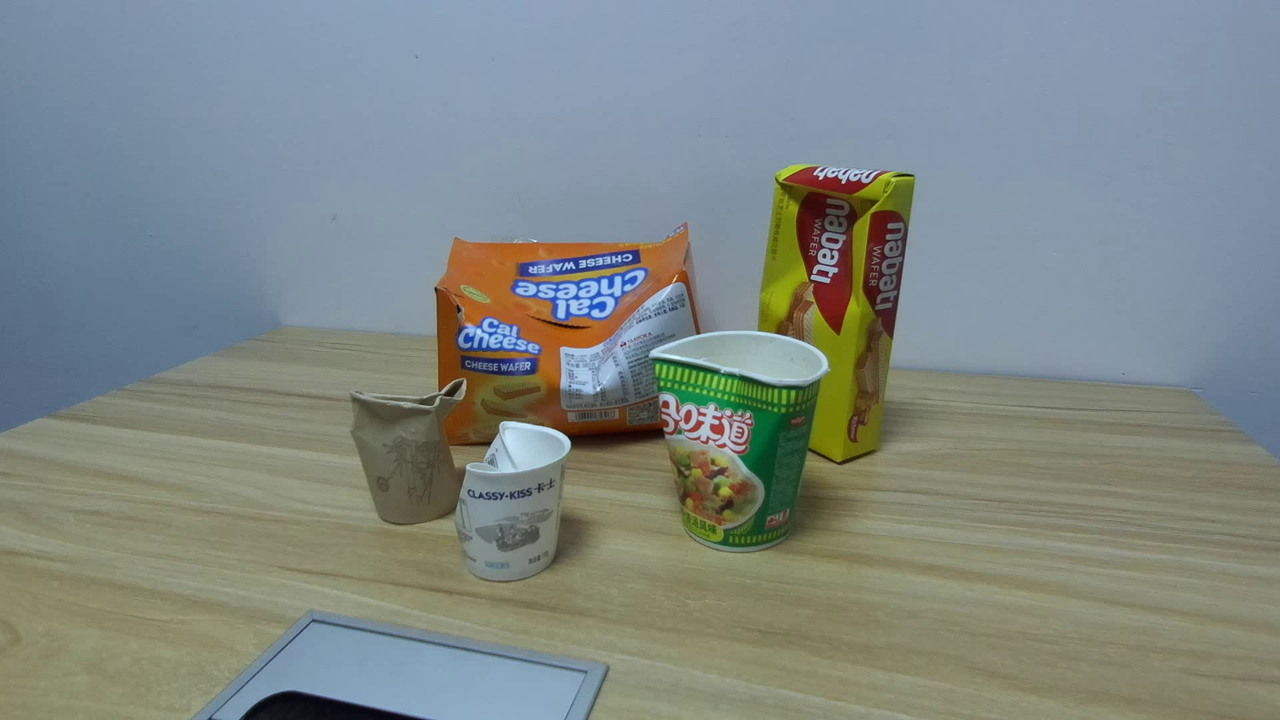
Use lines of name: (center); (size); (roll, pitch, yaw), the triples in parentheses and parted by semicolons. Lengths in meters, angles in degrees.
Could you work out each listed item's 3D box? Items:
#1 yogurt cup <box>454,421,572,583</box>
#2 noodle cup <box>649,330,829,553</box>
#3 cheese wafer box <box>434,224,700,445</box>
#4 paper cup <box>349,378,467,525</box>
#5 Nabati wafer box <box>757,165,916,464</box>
yogurt cup: (-0.071, 0.079, 0.395); (0.067, 0.070, 0.067); (0, 18, 0)
noodle cup: (0.062, 0.048, 0.416); (0.087, 0.109, 0.093); (-13, 23, -30)
cheese wafer box: (-0.052, -0.026, 0.583); (0.219, 0.145, 0.191); (-3, 19, -5)
paper cup: (-0.142, 0.055, 0.451); (0.066, 0.083, 0.058); (5, 19, 16)
Nabati wafer box: (0.133, -0.033, 0.510); (0.042, 0.203, 0.096); (-11, 23, -34)
